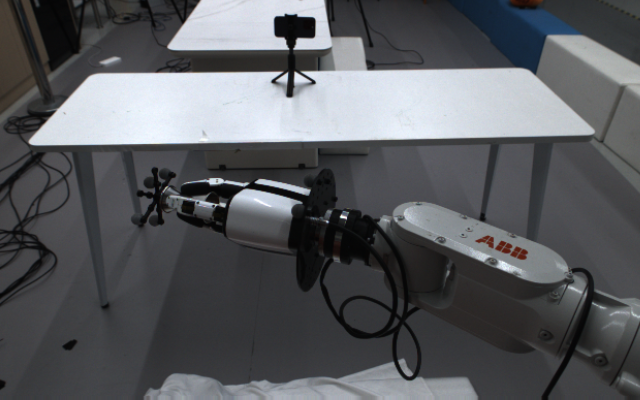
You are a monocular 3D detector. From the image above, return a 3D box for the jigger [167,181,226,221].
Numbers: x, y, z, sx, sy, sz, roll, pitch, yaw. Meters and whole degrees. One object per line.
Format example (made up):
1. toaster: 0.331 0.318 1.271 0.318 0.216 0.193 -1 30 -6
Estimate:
1. jigger: -0.174 0.002 0.664 0.071 0.043 0.043 10 35 16
